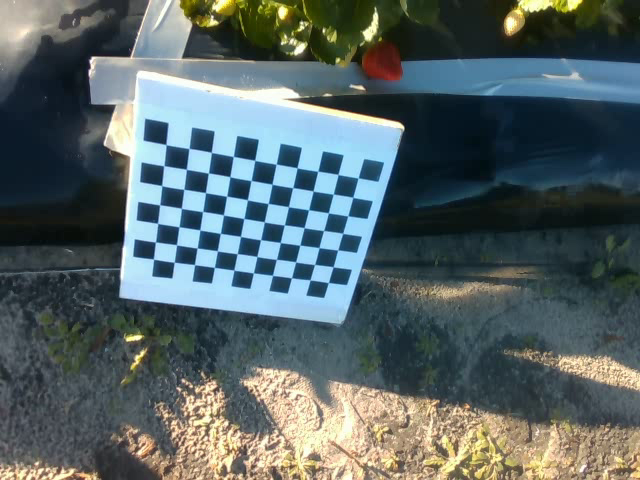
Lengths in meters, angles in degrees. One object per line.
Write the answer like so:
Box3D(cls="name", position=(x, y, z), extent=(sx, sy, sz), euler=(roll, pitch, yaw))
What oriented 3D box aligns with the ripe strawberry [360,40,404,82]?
Box3D(cls="ripe strawberry", position=(0.071, -0.191, 0.657), extent=(0.048, 0.045, 0.064), euler=(15, 33, -47))
